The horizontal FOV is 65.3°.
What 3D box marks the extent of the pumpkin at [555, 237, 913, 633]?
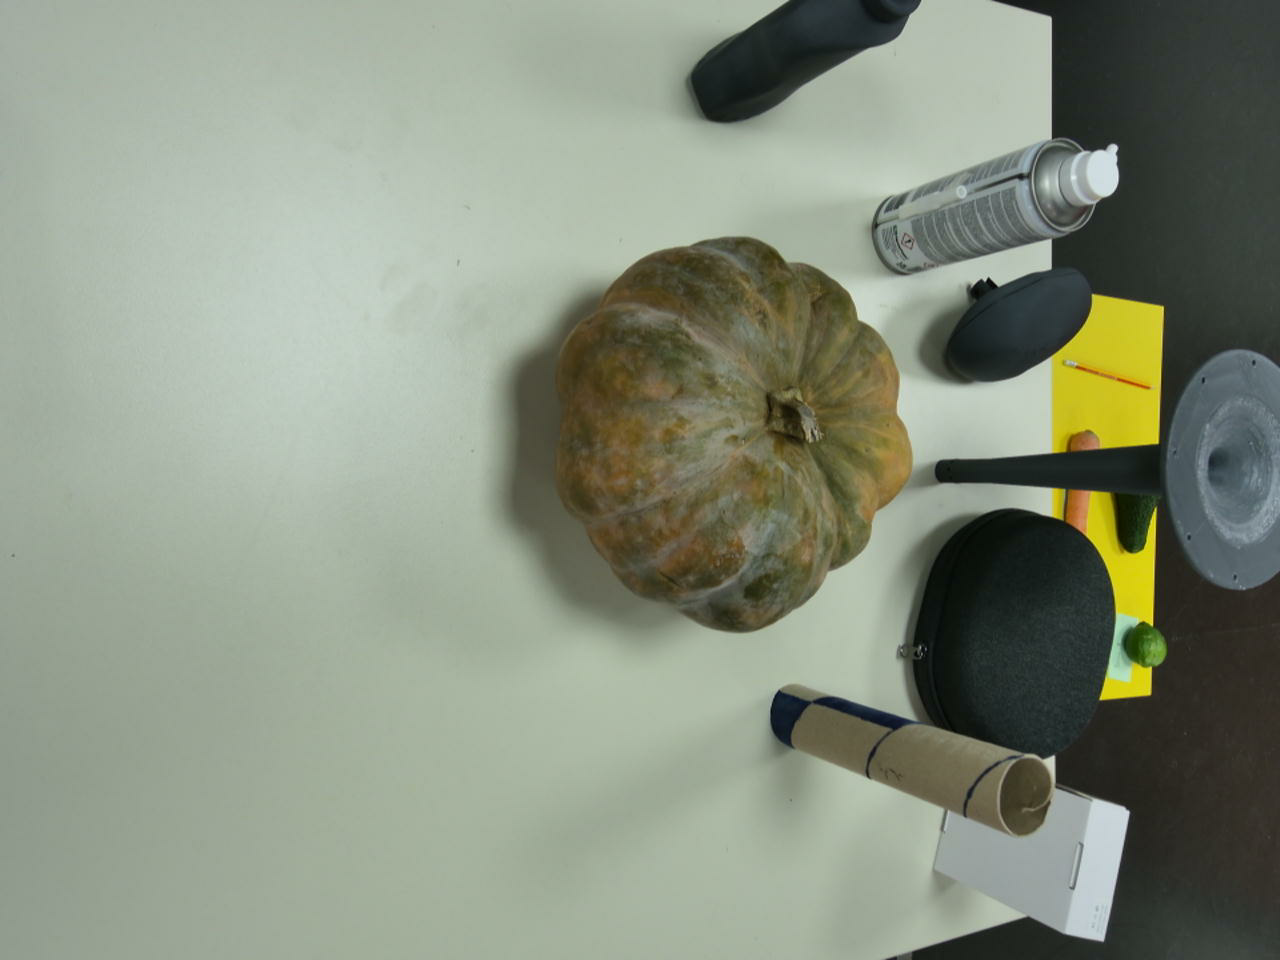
[{"bbox_3d":[0.059,-0.034,0.650,0.252,0.169,0.252,0,91,-29],"label":"pumpkin"}]
